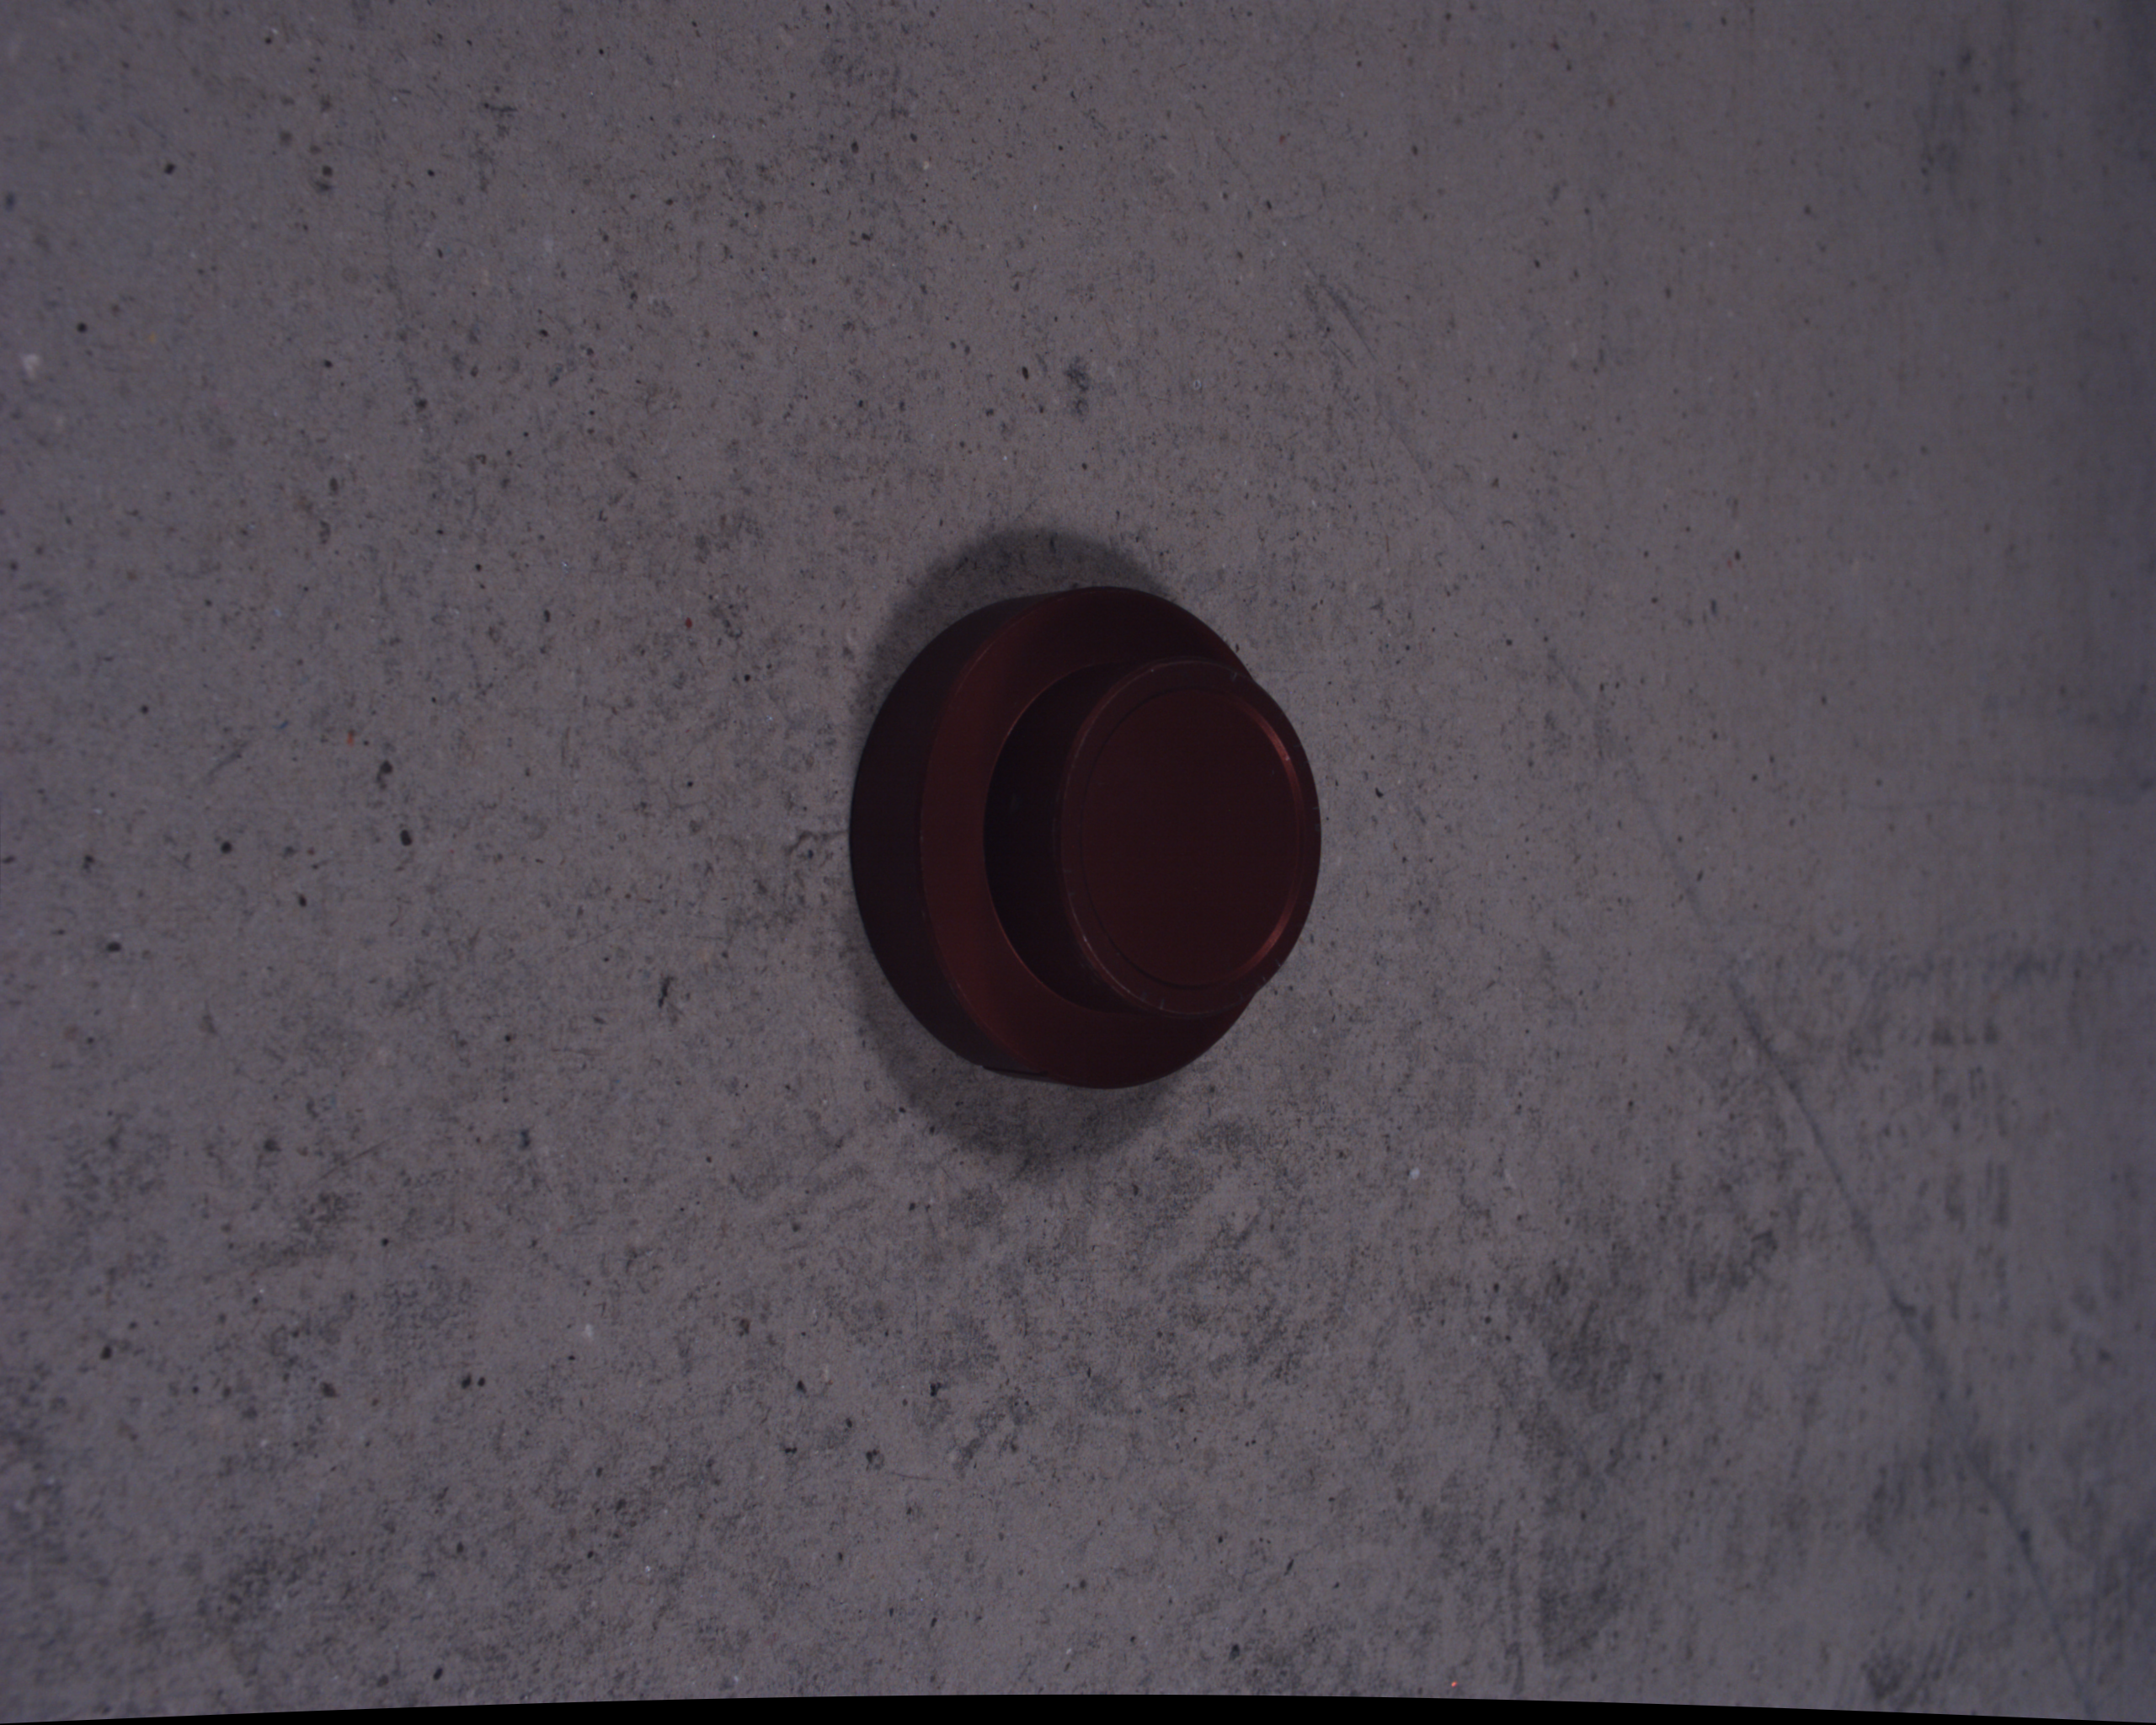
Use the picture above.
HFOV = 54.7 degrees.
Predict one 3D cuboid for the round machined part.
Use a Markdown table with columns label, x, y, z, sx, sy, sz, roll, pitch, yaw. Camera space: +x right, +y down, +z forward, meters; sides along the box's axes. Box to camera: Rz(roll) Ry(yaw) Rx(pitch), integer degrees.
| label | x | y | z | sx | sy | sz | roll | pitch | yaw |
| --- | --- | --- | --- | --- | --- | --- | --- | --- | --- |
| round machined part | 0.009 | -0.005 | 0.404 | 0.099 | 0.042 | 0.097 | 0 | 90 | -40 |
